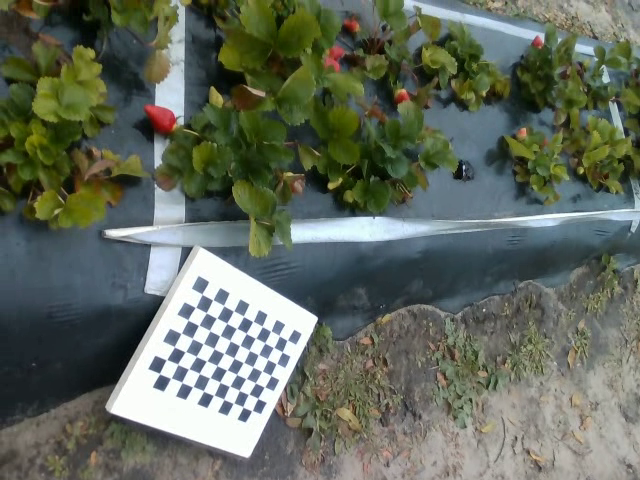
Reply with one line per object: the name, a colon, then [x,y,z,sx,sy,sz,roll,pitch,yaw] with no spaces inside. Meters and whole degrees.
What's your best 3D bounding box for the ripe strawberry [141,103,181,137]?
ripe strawberry: [-0.224,-0.172,0.820,0.051,0.042,0.037,31,-6,-41]
